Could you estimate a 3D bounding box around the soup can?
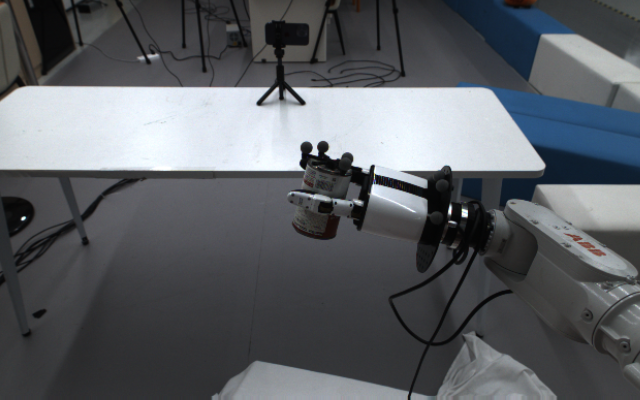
[{"bbox_3d":[0.004,-0.002,0.700,0.067,0.101,0.067,13,18,-4],"label":"soup can"}]
